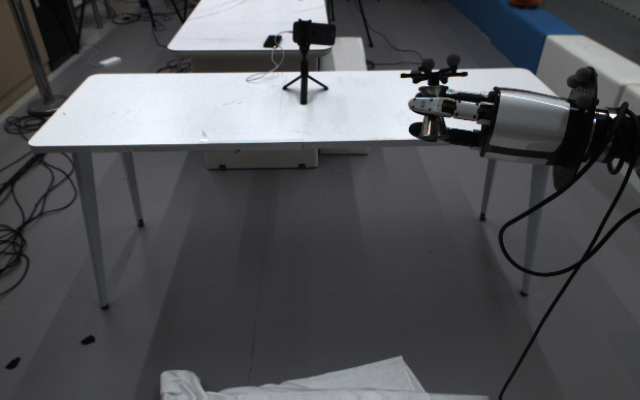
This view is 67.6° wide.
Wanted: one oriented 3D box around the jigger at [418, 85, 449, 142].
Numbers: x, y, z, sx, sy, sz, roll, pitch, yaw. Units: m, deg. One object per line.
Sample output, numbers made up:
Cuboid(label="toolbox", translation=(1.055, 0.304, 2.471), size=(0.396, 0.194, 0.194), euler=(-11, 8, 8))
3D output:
Cuboid(label="jigger", translation=(0.154, -0.119, 0.663), size=(0.043, 0.071, 0.043), euler=(-1, 2, 0))
